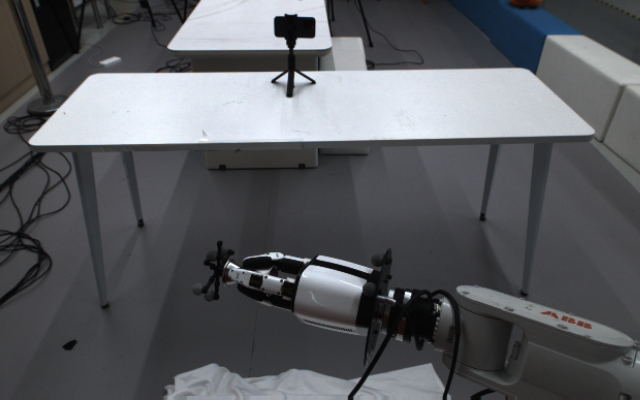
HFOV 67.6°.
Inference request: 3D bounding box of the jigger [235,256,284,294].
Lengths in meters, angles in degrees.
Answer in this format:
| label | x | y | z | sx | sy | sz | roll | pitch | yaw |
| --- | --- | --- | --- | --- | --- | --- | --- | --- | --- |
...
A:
| label | x | y | z | sx | sy | sz | roll | pitch | yaw |
| --- | --- | --- | --- | --- | --- | --- | --- | --- | --- |
| jigger | -0.093 | 0.105 | 0.685 | 0.071 | 0.043 | 0.043 | 7 | 35 | 15 |
